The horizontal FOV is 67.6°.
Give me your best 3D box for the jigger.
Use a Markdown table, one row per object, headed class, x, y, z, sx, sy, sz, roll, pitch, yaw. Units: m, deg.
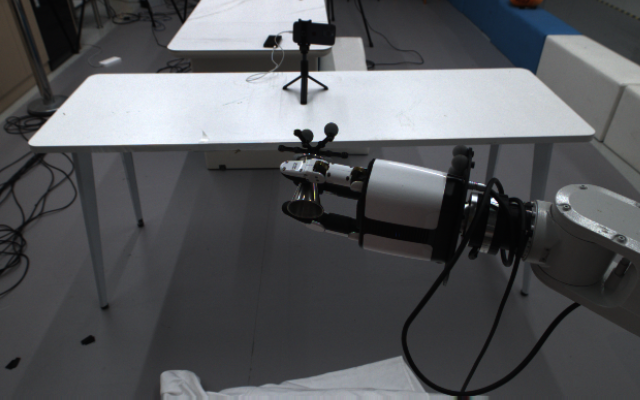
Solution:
| class | x | y | z | sx | sy | sz | roll | pitch | yaw |
| --- | --- | --- | --- | --- | --- | --- | --- | --- | --- |
| jigger | -0.017 | -0.019 | 0.591 | 0.043 | 0.043 | 0.071 | 6 | 61 | 5 |
